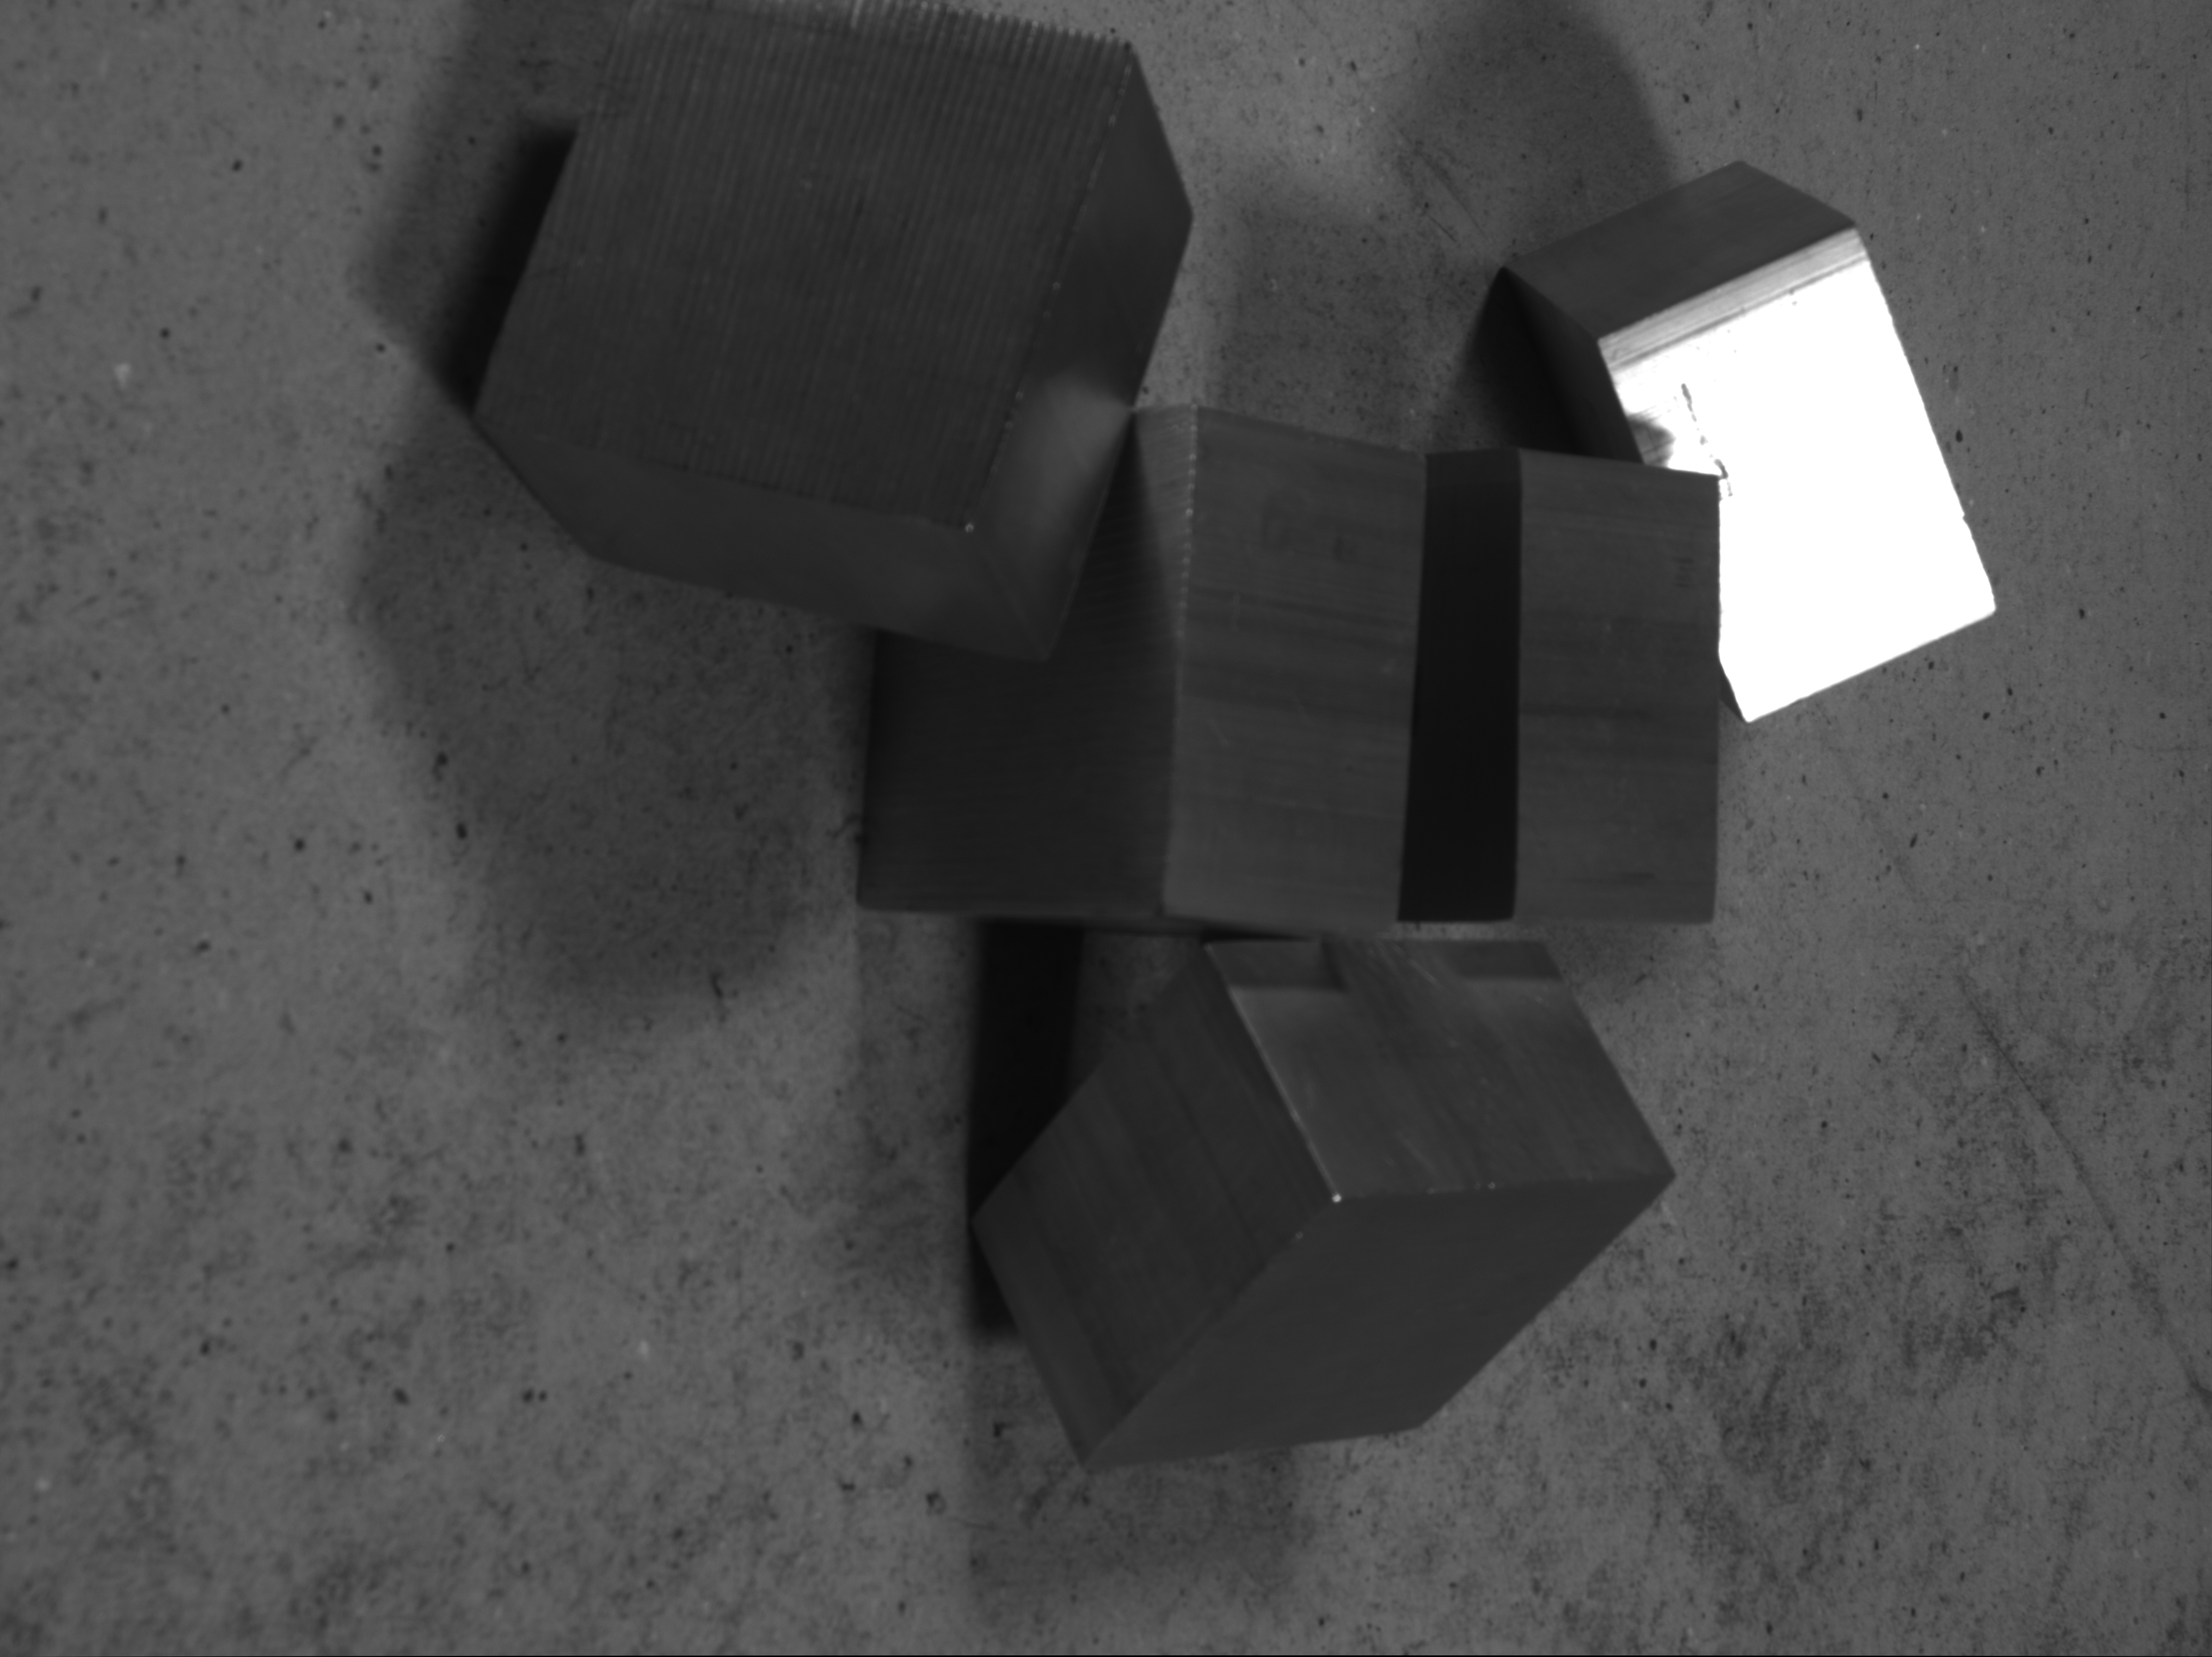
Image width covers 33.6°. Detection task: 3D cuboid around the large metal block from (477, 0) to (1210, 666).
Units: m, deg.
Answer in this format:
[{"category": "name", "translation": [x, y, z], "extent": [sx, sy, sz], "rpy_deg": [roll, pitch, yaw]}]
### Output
[{"category": "large metal block", "translation": [-0.038, -0.079, 0.559], "extent": [0.050, 0.080, 0.080], "rpy_deg": [58, 48, -68]}]

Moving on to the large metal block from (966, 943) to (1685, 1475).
[{"category": "large metal block", "translation": [0.036, 0.064, 0.624], "extent": [0.080, 0.080, 0.050], "rpy_deg": [1, 50, -40]}]

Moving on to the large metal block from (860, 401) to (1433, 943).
[{"category": "large metal block", "translation": [0.006, -0.024, 0.607], "extent": [0.050, 0.080, 0.080], "rpy_deg": [6, 86, -40]}]

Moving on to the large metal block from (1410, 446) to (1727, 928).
[{"category": "large metal block", "translation": [0.063, -0.023, 0.655], "extent": [0.050, 0.080, 0.080], "rpy_deg": [1, 89, -40]}]

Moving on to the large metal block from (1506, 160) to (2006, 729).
[{"category": "large metal block", "translation": [0.122, -0.075, 0.695], "extent": [0.050, 0.080, 0.080], "rpy_deg": [-24, 109, 2]}]
